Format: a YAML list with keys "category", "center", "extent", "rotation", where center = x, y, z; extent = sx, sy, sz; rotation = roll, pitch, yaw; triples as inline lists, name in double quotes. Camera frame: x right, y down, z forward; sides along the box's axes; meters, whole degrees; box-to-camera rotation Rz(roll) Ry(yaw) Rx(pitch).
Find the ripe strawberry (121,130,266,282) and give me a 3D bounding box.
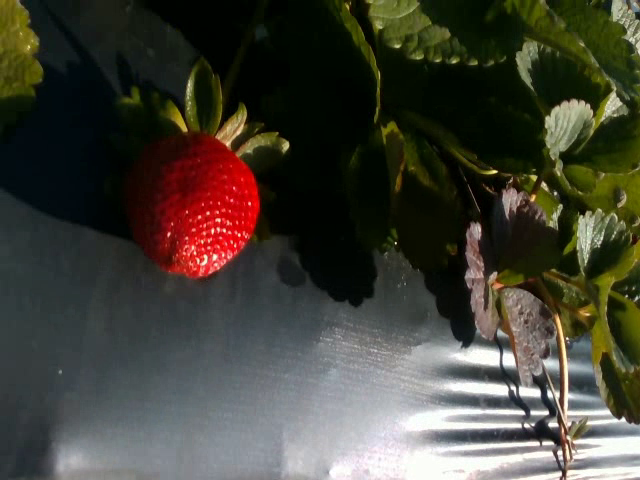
- category: "ripe strawberry"
  center: [-0.038, -0.008, 0.161]
  extent: [0.043, 0.043, 0.050]
  rotation: [-28, 18, 15]
